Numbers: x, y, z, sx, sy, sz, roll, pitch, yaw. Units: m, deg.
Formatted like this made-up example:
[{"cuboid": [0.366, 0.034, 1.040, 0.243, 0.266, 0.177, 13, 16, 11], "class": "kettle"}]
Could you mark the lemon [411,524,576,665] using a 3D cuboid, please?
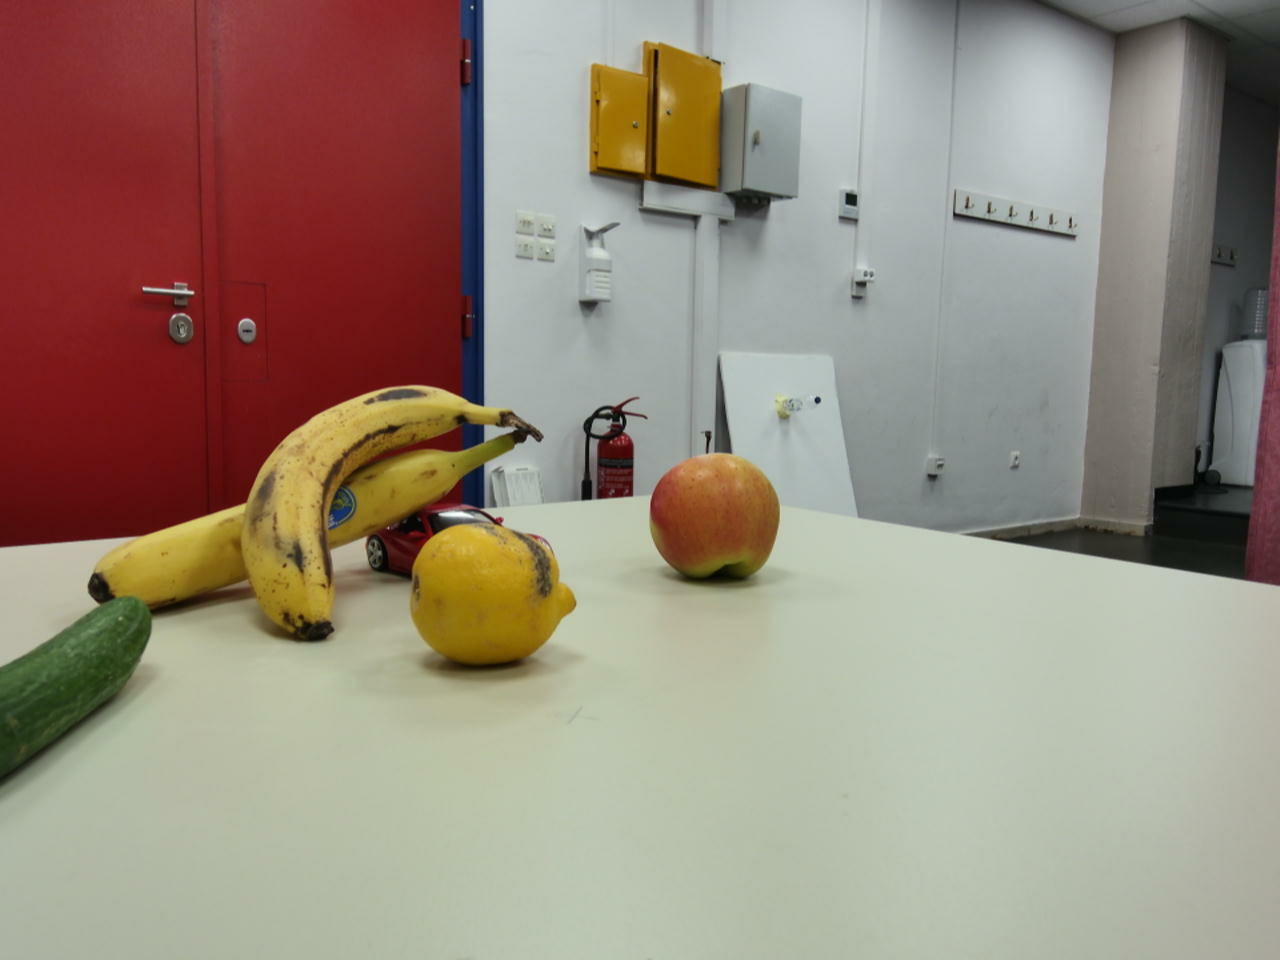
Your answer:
[{"cuboid": [-0.062, 0.046, 0.405, 0.058, 0.056, 0.061, 4, 6, 44], "class": "lemon"}]
